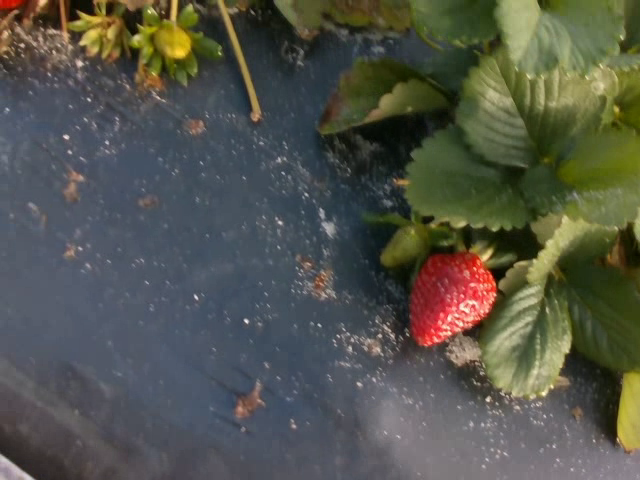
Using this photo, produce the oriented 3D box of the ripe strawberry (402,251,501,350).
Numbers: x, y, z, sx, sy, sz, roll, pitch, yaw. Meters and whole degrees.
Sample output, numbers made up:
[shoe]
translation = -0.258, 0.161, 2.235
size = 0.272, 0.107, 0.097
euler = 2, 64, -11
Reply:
[ripe strawberry]
translation = 0.036, 0.018, 0.185
size = 0.029, 0.036, 0.021
euler = 33, -24, 12
